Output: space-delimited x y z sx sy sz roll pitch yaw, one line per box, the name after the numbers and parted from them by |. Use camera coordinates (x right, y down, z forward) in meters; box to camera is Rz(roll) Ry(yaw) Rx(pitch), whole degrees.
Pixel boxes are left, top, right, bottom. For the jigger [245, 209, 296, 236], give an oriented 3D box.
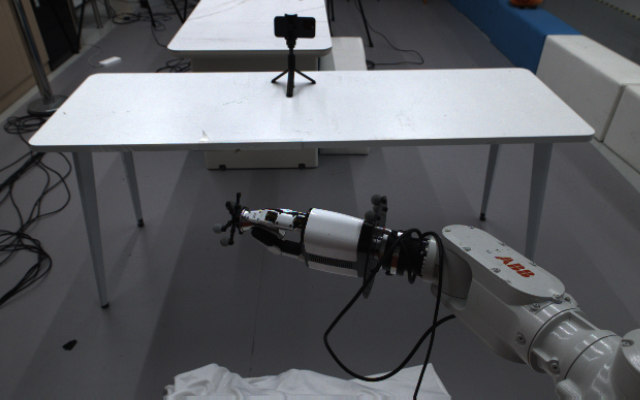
-0.085 0.032 0.783 0.071 0.043 0.043 7 35 15 | jigger
